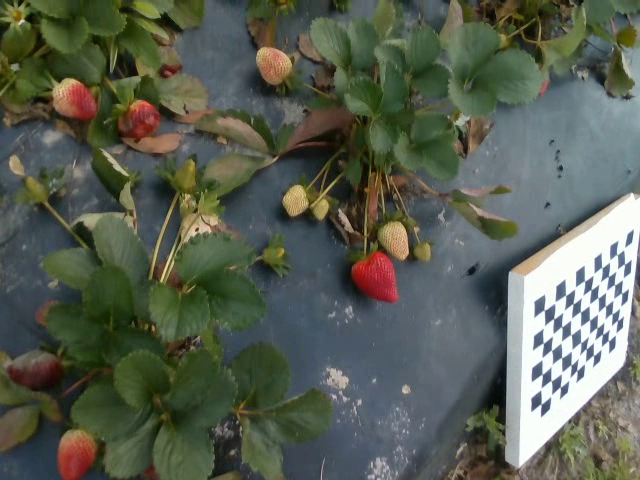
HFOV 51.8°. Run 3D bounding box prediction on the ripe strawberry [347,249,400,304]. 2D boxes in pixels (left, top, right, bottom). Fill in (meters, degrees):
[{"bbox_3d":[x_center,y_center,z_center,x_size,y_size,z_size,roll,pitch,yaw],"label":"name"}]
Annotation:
[{"bbox_3d":[0.059,0.037,0.652,0.050,0.059,0.034,-34,-13,-26],"label":"ripe strawberry"}]
